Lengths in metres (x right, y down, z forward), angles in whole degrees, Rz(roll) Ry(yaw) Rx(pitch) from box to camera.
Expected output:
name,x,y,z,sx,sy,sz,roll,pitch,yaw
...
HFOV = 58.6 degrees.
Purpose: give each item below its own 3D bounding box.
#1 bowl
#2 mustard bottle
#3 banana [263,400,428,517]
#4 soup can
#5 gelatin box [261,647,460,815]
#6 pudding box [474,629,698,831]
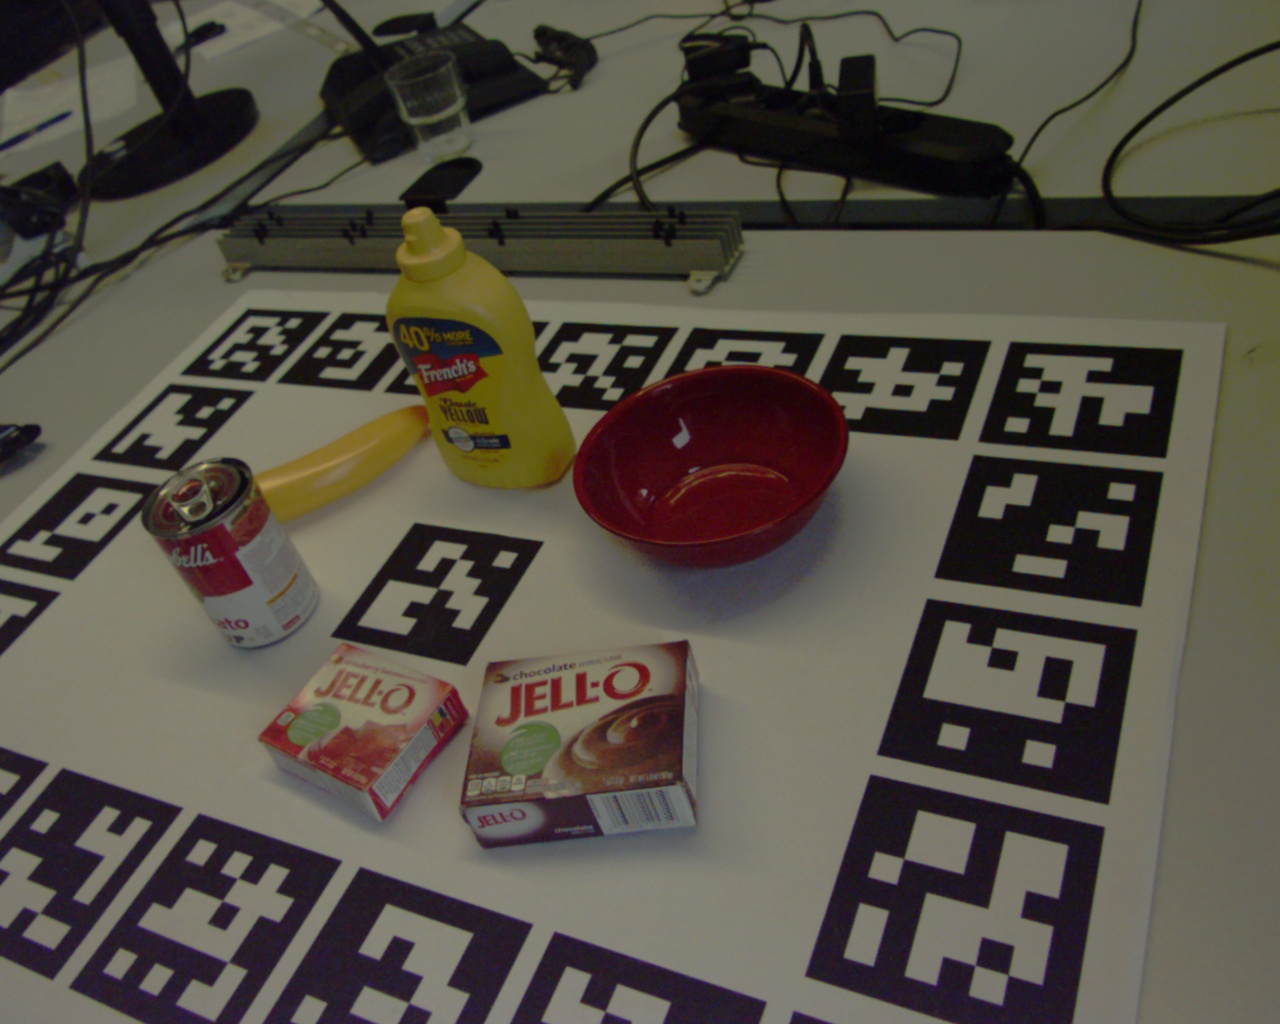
name,x,y,z,sx,sy,sz,roll,pitch,yaw
bowl,0.051,-0.017,0.710,0.162,0.055,0.162,-12,40,9
mustard bottle,-0.113,-0.108,0.747,0.097,0.190,0.058,8,44,26
banana,-0.241,-0.033,0.846,0.197,0.038,0.075,-26,31,-8
soup can,-0.257,0.019,0.732,0.068,0.101,0.068,-9,41,7
gelatin box,-0.160,0.122,0.650,0.090,0.030,0.073,13,53,32
pudding box,-0.028,0.115,0.602,0.114,0.038,0.090,-10,47,10
